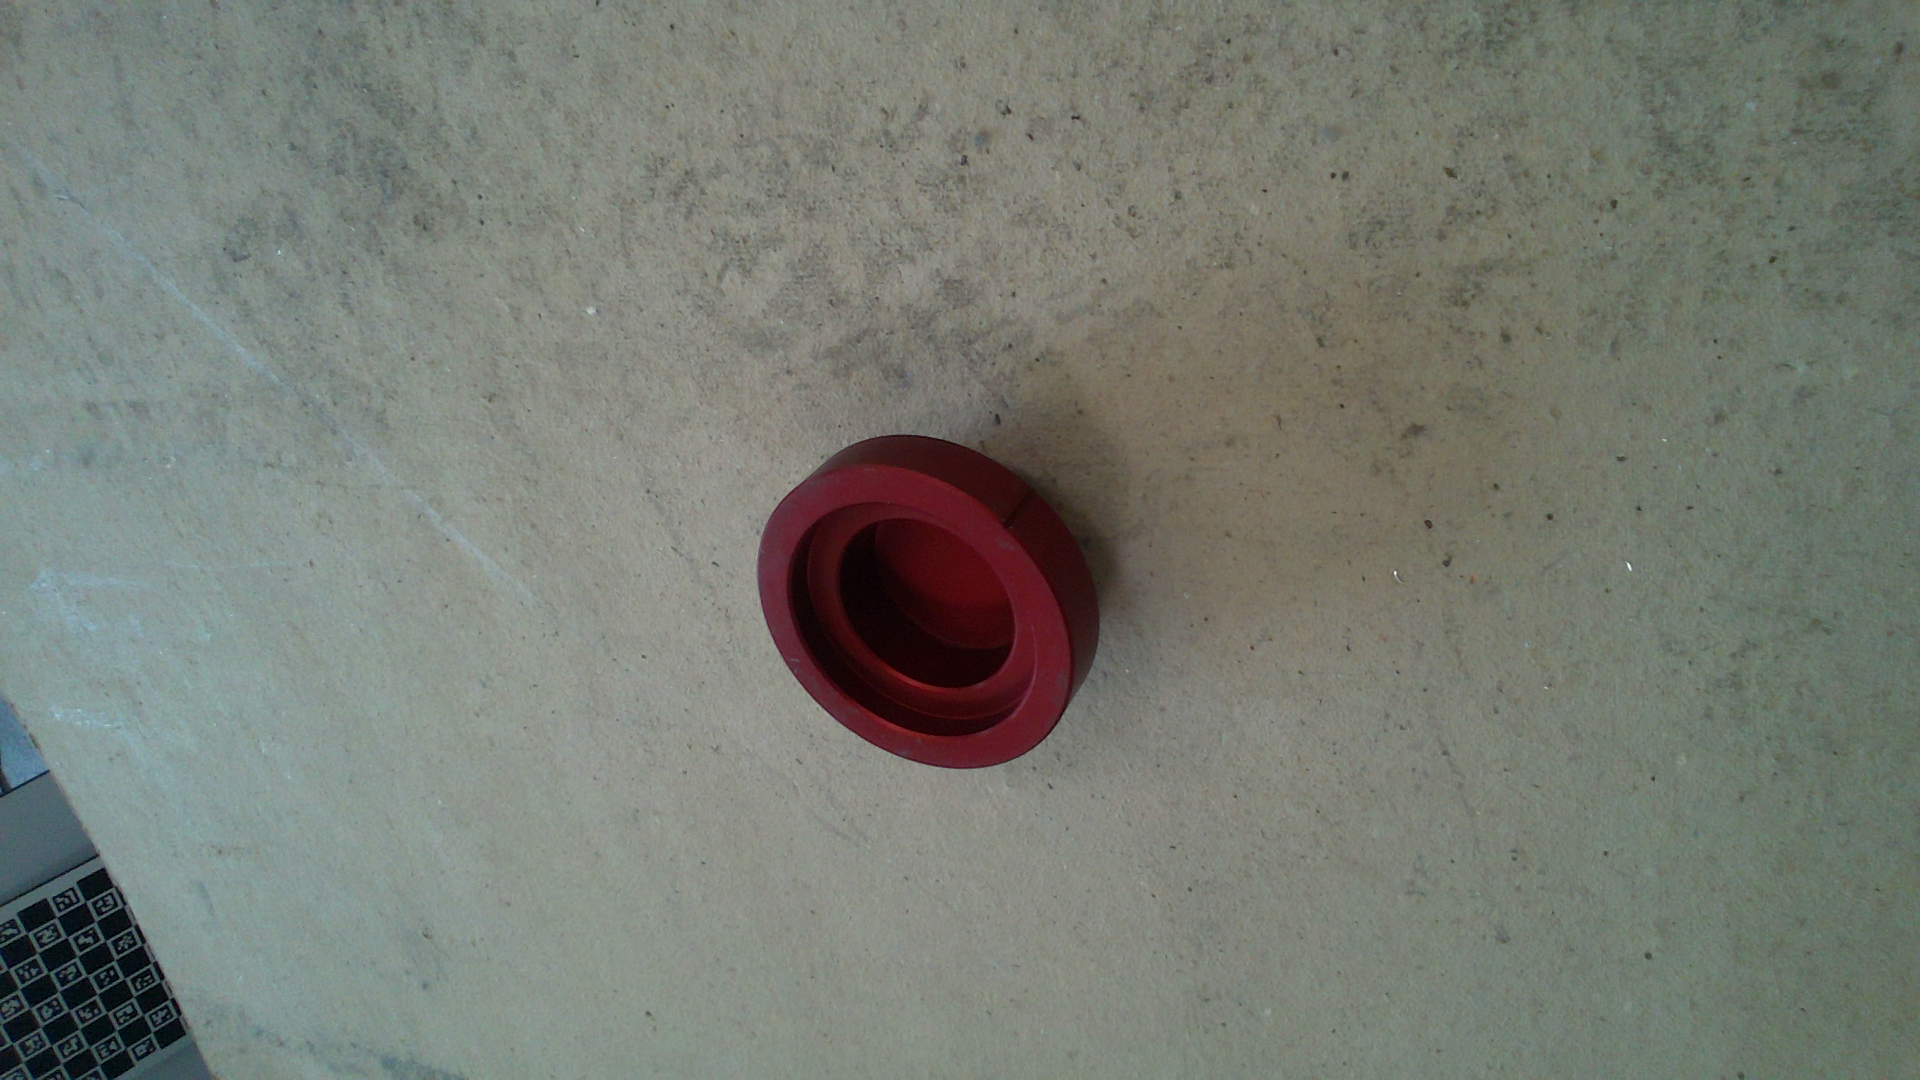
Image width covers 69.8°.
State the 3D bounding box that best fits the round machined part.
[{"bbox_3d":[-0.006,0.014,0.394,0.098,0.042,0.098,13,124,21],"label":"round machined part"}]
